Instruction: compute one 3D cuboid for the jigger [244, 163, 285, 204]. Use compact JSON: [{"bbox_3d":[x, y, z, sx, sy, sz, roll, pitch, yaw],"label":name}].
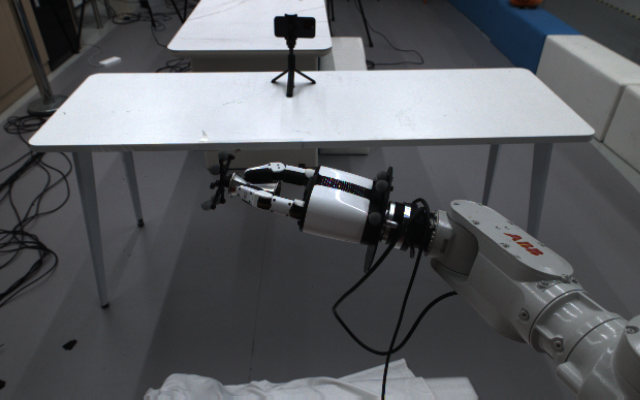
[{"bbox_3d":[-0.089,-0.017,0.711,0.071,0.043,0.043,14,36,4],"label":"jigger"}]
